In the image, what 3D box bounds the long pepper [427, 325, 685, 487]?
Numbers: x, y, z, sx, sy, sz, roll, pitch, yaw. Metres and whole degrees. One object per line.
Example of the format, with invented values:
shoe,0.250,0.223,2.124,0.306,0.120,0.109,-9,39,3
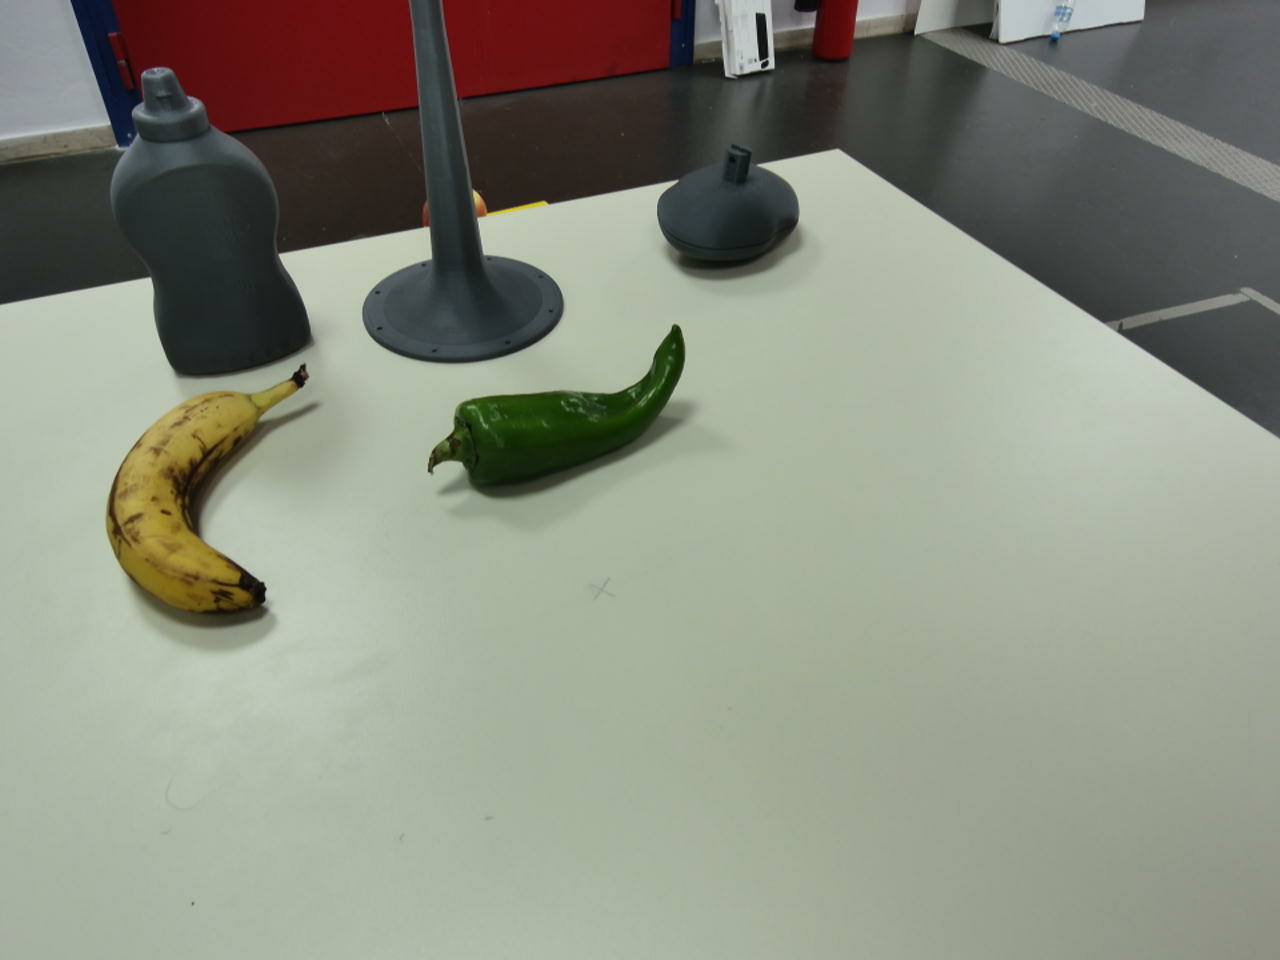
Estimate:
long pepper,-0.045,-0.042,0.603,0.175,0.065,0.058,-17,42,-21
